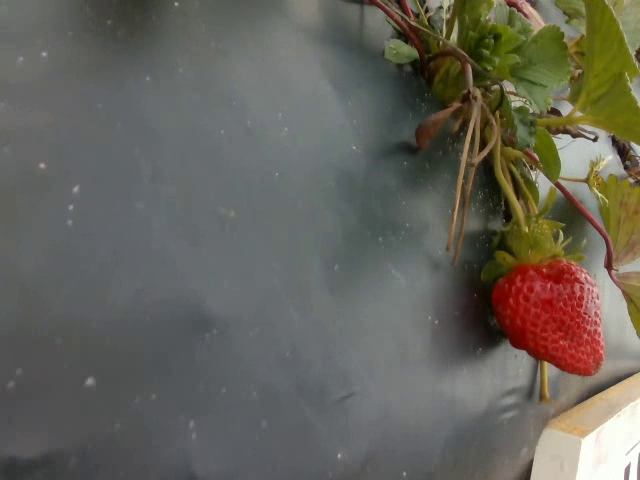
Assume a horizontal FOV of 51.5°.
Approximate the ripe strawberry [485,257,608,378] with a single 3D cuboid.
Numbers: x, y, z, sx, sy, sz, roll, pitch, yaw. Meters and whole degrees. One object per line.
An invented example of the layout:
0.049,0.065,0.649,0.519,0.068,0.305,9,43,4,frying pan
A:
0.029,0.010,0.080,0.014,0.017,0.018,-36,-20,14,ripe strawberry
